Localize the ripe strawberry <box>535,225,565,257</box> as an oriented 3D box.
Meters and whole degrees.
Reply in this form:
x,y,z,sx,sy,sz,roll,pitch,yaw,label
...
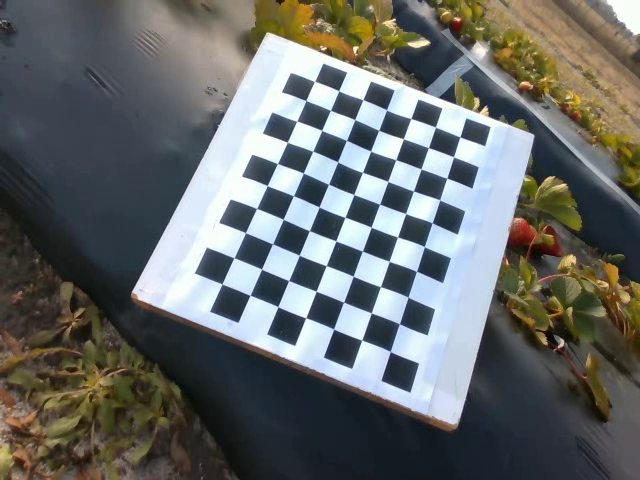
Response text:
x,y,z,sx,sy,sz,roll,pitch,yaw,label
0.350,0.006,0.919,0.048,0.065,0.050,-25,-21,-16,ripe strawberry
